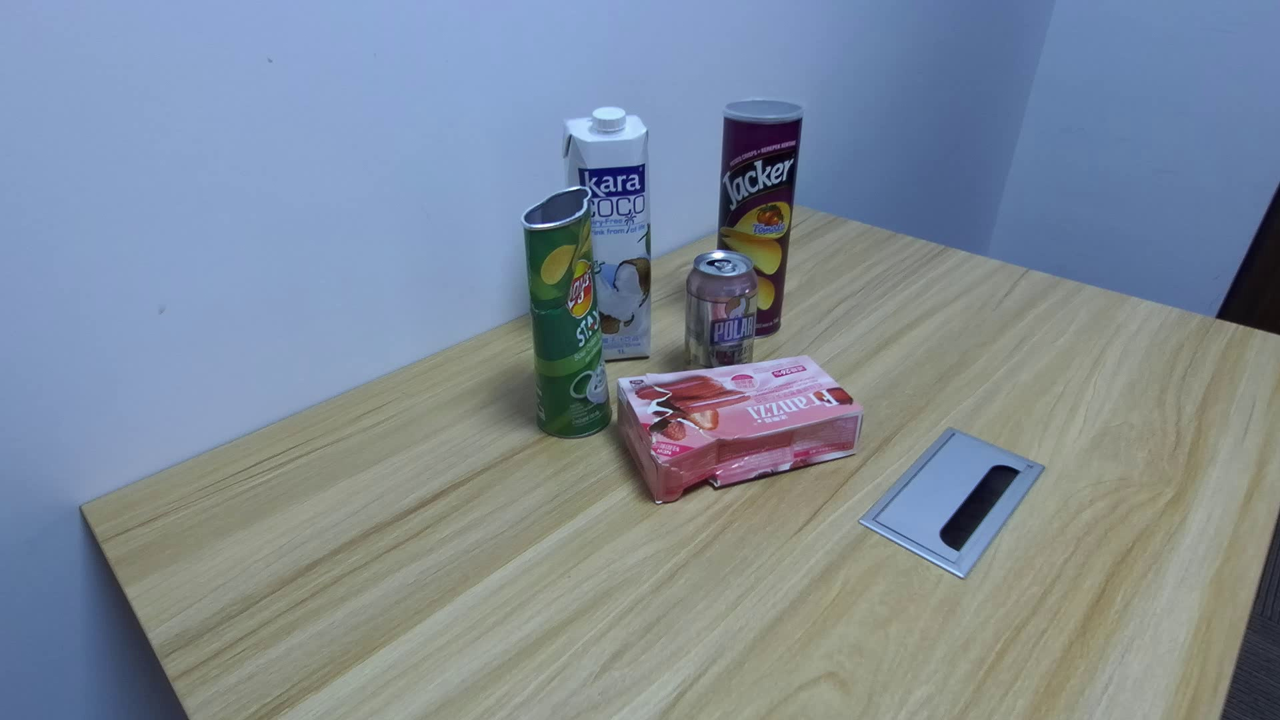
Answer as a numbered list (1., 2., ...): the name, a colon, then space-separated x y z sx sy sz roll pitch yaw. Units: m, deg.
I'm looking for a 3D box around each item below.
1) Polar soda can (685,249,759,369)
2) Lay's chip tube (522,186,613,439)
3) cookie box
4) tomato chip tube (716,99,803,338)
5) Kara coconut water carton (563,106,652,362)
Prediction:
1. Polar soda can: 0.076 -0.036 0.666 0.067 0.126 0.067 -1 31 1
2. Lay's chip tube: -0.062 -0.034 0.596 0.069 0.200 0.074 -12 32 -18
3. cookie box: 0.082 0.047 0.591 0.186 0.059 0.104 -10 36 -17
4. tomato chip tube: 0.120 -0.139 0.728 0.078 0.234 0.078 -1 31 1
5. Kara coconut water carton: -0.029 -0.118 0.684 0.077 0.245 0.075 -6 31 -8
